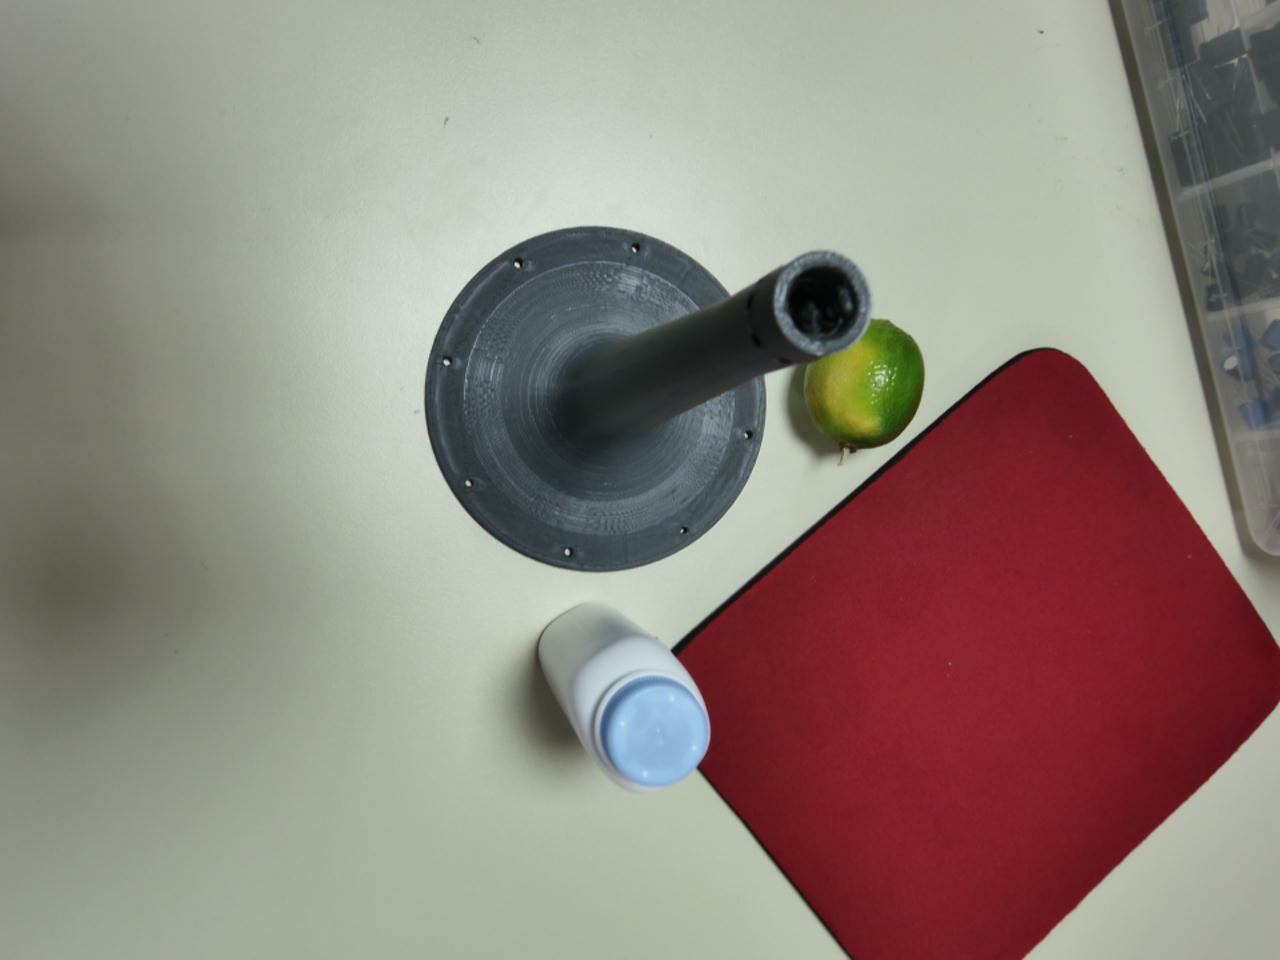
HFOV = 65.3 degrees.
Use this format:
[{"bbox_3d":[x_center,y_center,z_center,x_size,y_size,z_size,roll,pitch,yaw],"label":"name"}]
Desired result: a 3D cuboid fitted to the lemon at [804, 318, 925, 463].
[{"bbox_3d":[0.098,-0.042,0.436,0.055,0.050,0.054,-30,96,-10],"label":"lemon"}]
